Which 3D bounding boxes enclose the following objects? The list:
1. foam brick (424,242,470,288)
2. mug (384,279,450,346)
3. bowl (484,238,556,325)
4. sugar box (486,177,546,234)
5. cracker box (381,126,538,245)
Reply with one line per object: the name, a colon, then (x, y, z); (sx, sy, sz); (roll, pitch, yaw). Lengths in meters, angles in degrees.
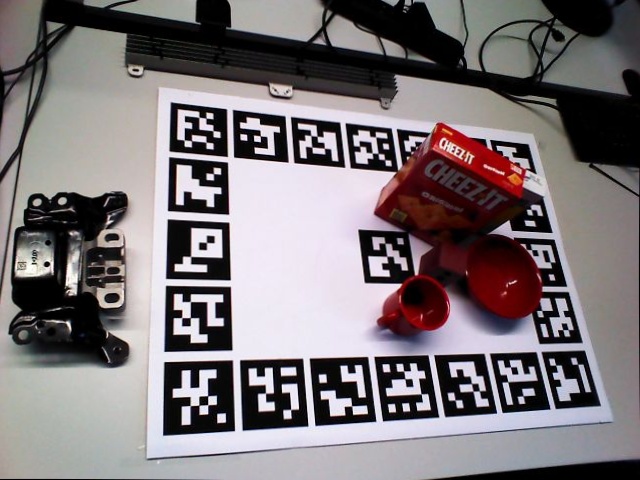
foam brick: (0.226, 0.046, 0.909); (0.053, 0.078, 0.051); (17, 62, -11)
mug: (0.158, 0.124, 0.841); (0.117, 0.082, 0.093); (-6, 62, -20)
bowl: (0.346, 0.080, 0.932); (0.161, 0.055, 0.161); (7, 67, -16)
sugar box: (0.324, -0.075, 0.933); (0.093, 0.177, 0.045); (23, 62, -8)
cracker box: (0.225, -0.075, 0.879); (0.164, 0.215, 0.071); (30, 59, -5)
